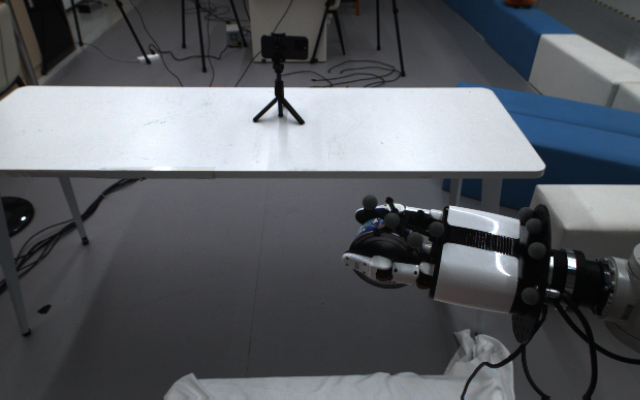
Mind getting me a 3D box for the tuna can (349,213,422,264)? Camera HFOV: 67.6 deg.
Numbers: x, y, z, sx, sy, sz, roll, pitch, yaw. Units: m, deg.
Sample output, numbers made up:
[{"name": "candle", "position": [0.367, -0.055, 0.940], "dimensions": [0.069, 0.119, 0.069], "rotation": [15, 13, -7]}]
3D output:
[{"name": "tuna can", "position": [0.082, 0.060, 0.581], "dimensions": [0.085, 0.085, 0.034], "rotation": [12, 33, 14]}]
